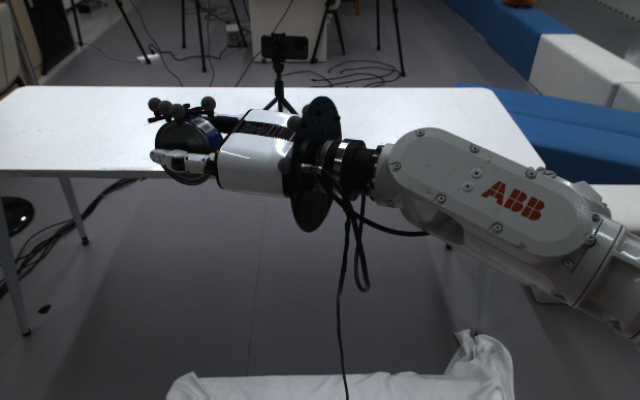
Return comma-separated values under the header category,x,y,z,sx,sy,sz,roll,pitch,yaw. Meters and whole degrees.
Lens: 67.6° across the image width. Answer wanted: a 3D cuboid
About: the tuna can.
category,x,y,z,sx,sy,sz,roll,pitch,yaw
tuna can,-0.163,-0.064,0.615,0.085,0.085,0.034,14,29,17
